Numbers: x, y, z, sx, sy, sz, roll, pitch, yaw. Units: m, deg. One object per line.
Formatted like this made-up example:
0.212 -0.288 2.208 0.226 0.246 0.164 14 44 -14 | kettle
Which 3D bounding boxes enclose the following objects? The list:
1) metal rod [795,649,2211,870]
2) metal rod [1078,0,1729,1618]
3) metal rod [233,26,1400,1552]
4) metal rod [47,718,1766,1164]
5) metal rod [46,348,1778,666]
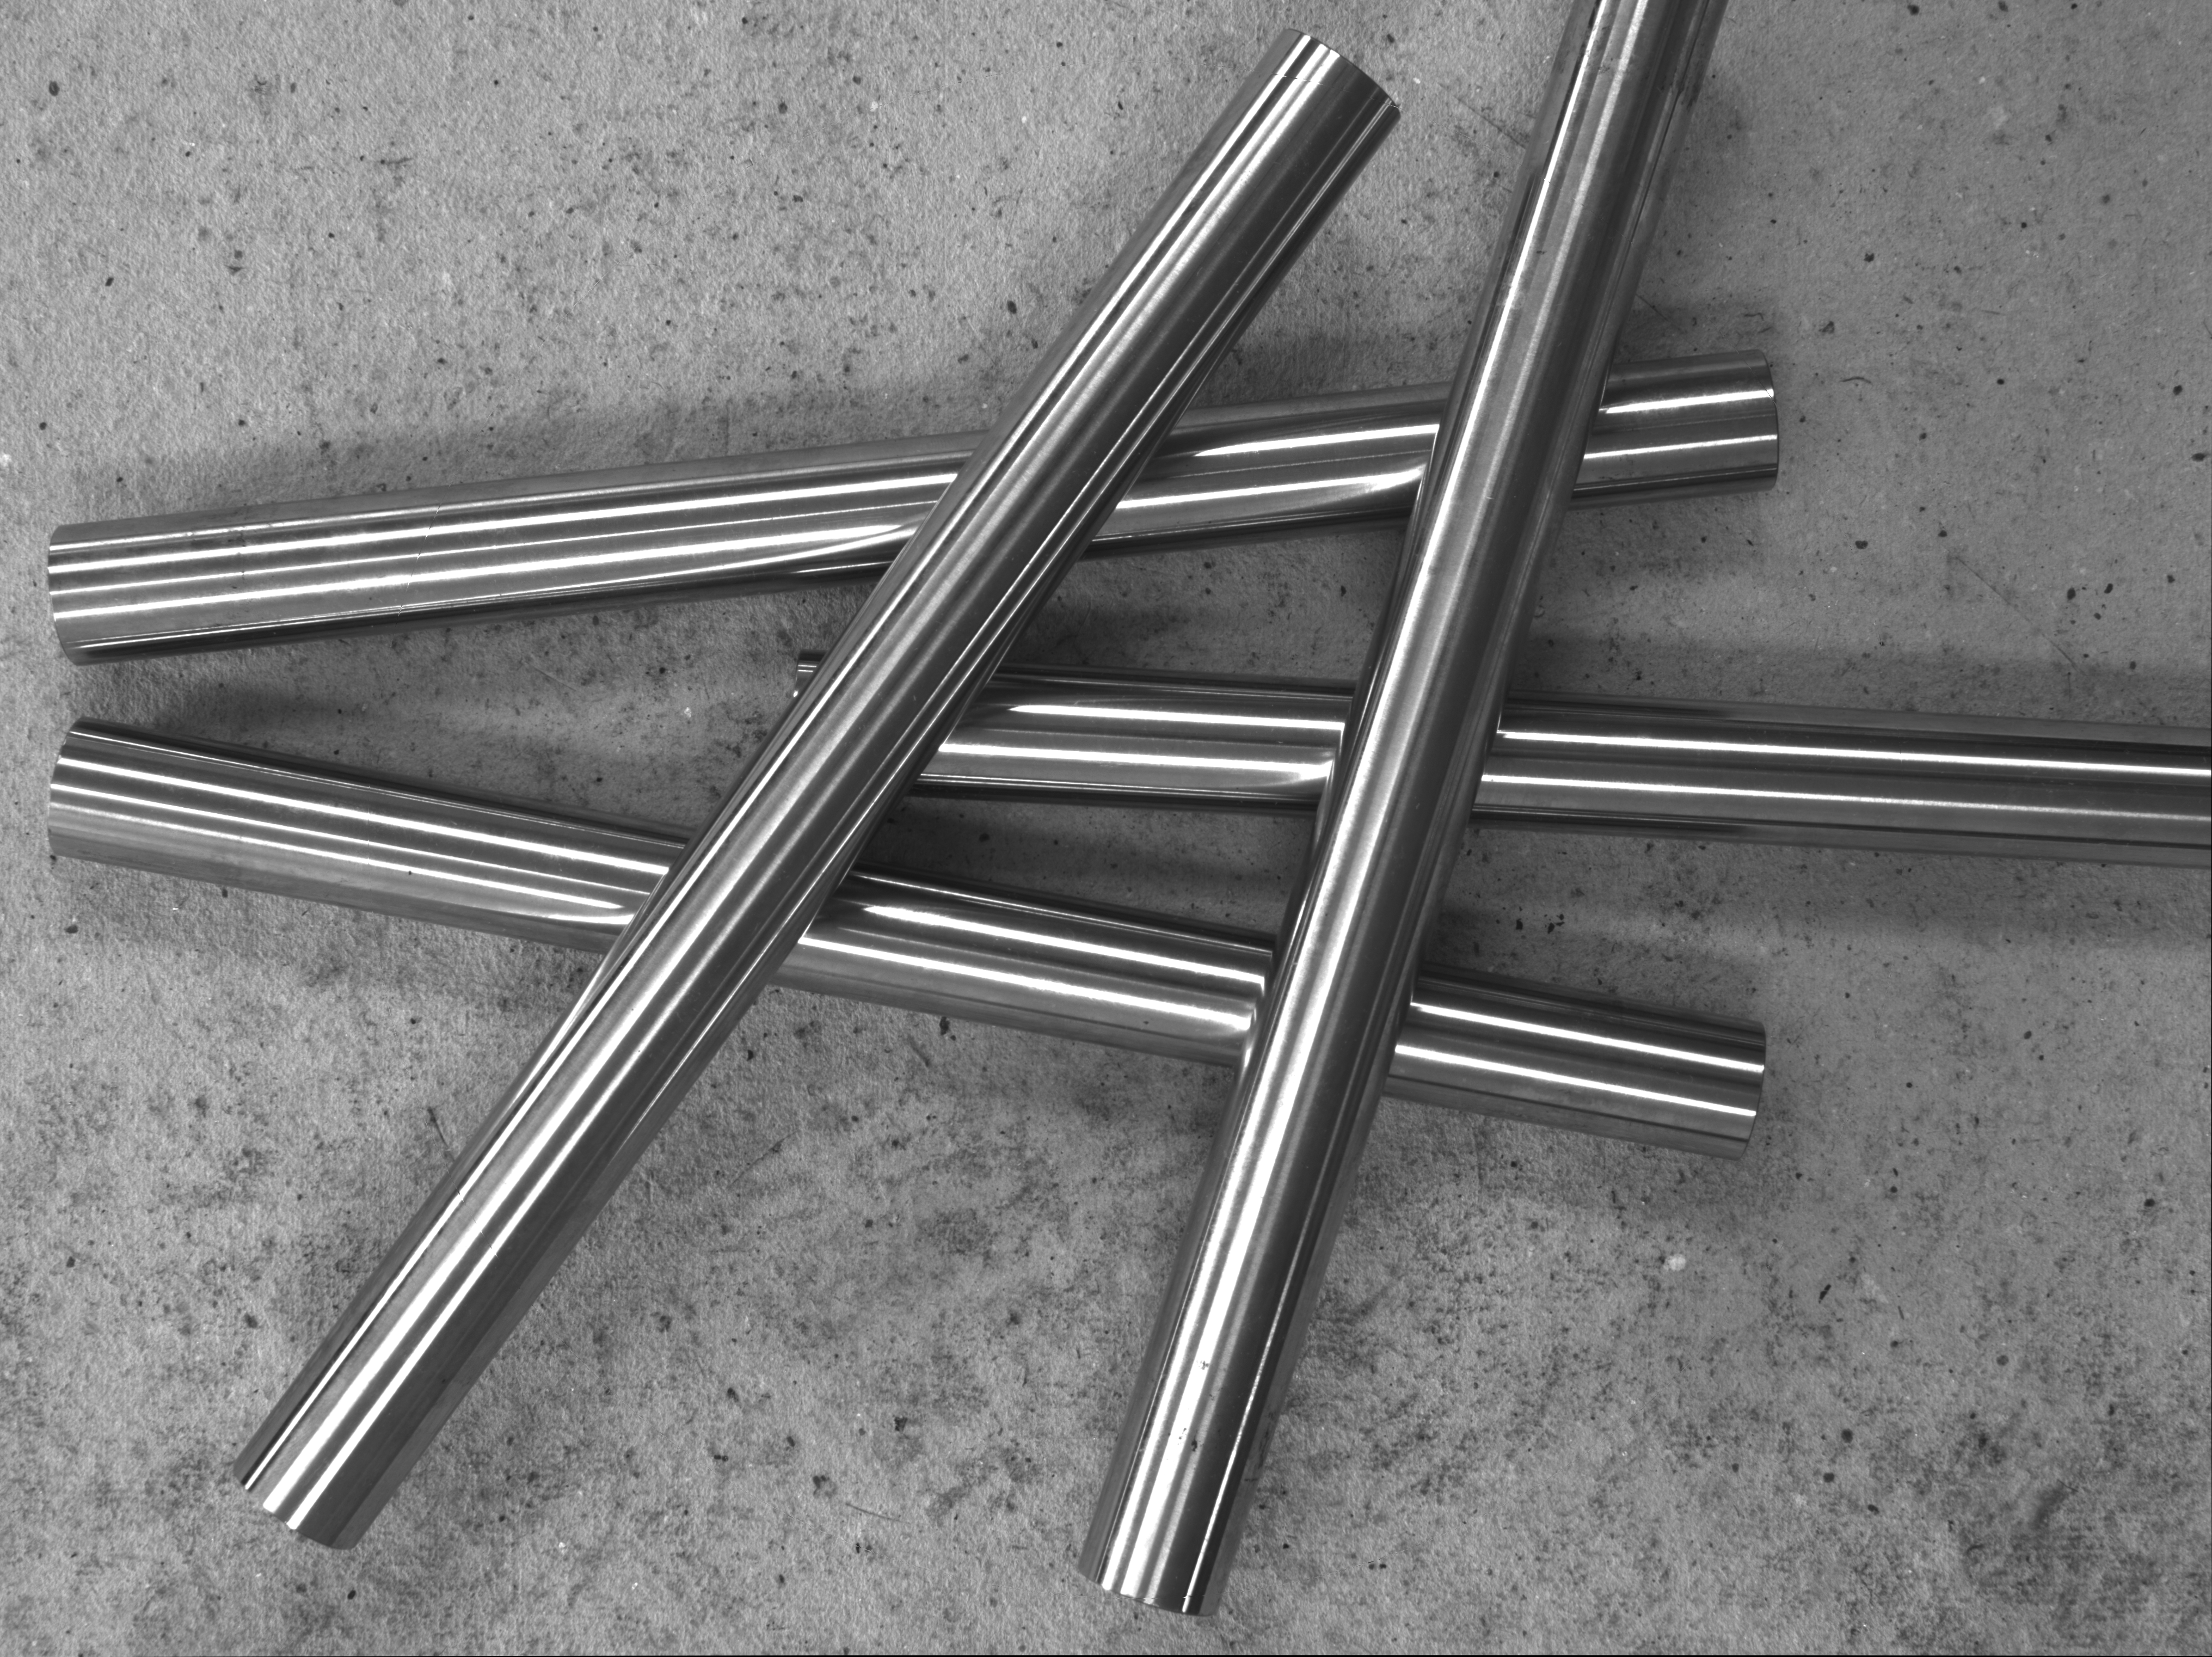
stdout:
0.096 -0.011 0.645 0.300 0.025 0.025 3 90 0 | metal rod
0.052 -0.014 0.621 0.025 0.025 0.300 18 90 0 | metal rod
-0.049 -0.007 0.620 0.025 0.025 0.300 36 90 0 | metal rod
-0.034 0.020 0.645 0.300 0.025 0.025 10 90 0 | metal rod
-0.033 -0.057 0.645 0.300 0.025 0.025 -6 90 0 | metal rod
